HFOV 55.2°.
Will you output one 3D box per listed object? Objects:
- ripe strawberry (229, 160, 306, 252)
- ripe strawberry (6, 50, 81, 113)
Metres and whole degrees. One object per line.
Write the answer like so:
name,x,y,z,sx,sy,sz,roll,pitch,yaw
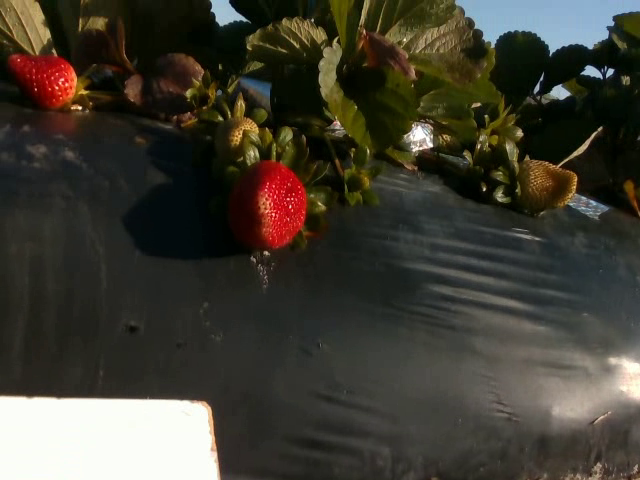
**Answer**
ripe strawberry,-0.025,-0.012,0.266,0.042,0.042,0.059,26,21,-10
ripe strawberry,-0.153,-0.090,0.334,0.046,0.036,0.035,17,32,-31
